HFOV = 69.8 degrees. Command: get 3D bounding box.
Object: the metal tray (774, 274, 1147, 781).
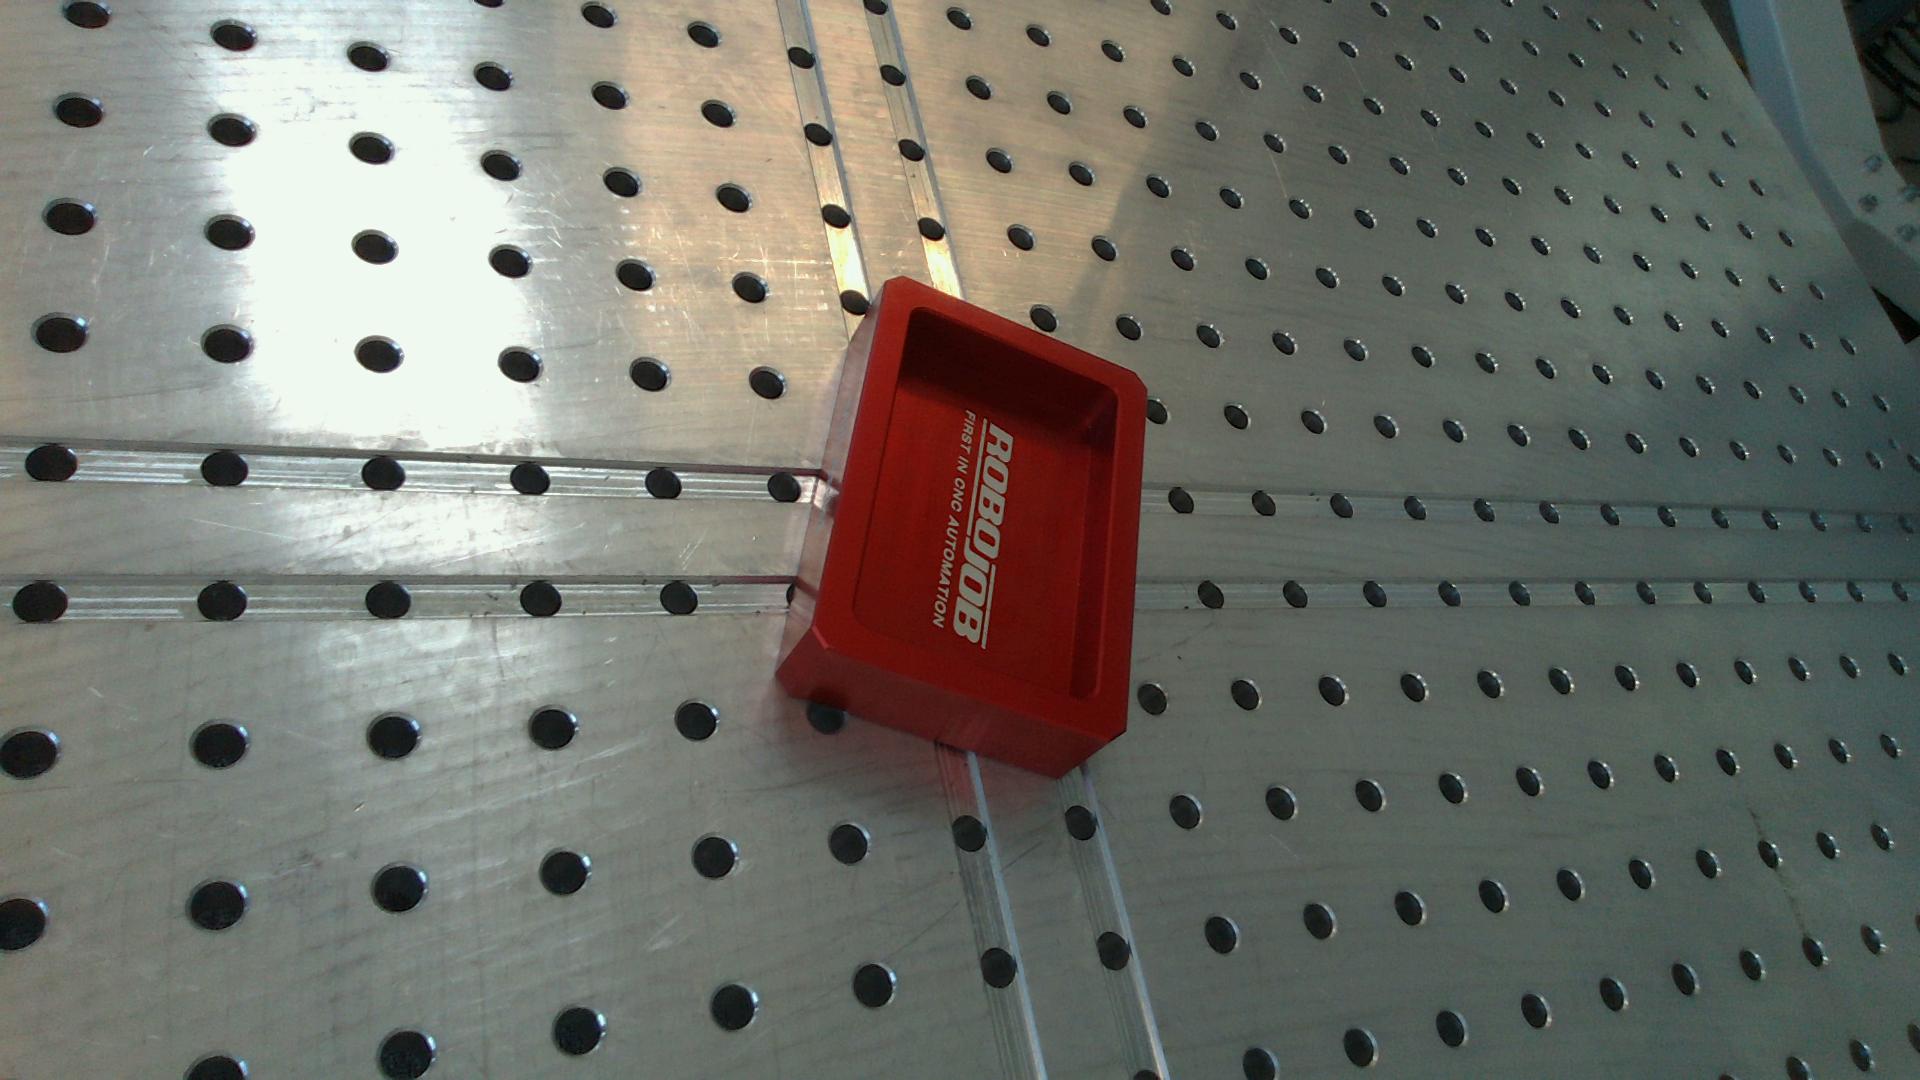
[{"bbox_3d":[0.005,-0.006,0.395,0.090,0.030,0.130,20,54,-17],"label":"metal tray"}]
